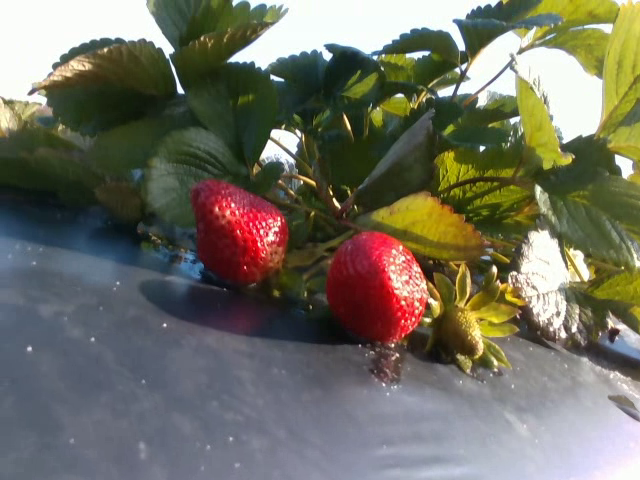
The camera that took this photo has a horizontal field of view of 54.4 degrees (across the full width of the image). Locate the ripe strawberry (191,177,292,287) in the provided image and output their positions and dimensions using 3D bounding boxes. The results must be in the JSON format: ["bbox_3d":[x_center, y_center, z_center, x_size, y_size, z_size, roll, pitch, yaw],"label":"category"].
[{"bbox_3d":[-0.034,-0.004,0.254,0.039,0.048,0.054,-34,-56,20],"label":"ripe strawberry"}]

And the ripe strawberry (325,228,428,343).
[{"bbox_3d":[0.022,0.013,0.216,0.043,0.039,0.053,35,-8,3],"label":"ripe strawberry"}]
